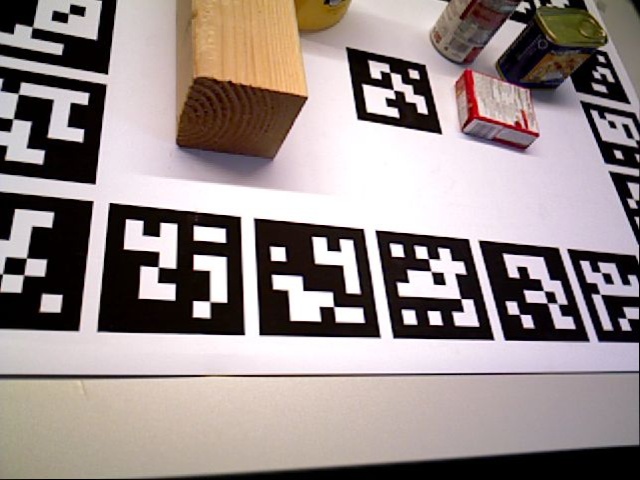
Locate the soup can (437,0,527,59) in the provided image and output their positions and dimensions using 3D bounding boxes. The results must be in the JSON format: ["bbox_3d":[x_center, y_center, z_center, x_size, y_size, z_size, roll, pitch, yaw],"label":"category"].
[{"bbox_3d":[0.187,-0.266,0.612,0.067,0.104,0.067,9,61,-18],"label":"soup can"}]

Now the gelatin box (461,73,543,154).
[{"bbox_3d":[0.203,-0.142,0.603,0.088,0.031,0.072,13,61,-14],"label":"gelatin box"}]

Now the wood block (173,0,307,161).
[{"bbox_3d":[-0.076,-0.183,0.474,0.090,0.092,0.204,6,57,-22],"label":"wood block"}]

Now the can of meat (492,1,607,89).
[{"bbox_3d":[0.272,-0.229,0.652,0.100,0.086,0.057,-8,67,-29],"label":"can of meat"}]

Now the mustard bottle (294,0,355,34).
[{"bbox_3d":[0.020,-0.290,0.515,0.094,0.196,0.058,-22,72,-33],"label":"mustard bottle"}]
